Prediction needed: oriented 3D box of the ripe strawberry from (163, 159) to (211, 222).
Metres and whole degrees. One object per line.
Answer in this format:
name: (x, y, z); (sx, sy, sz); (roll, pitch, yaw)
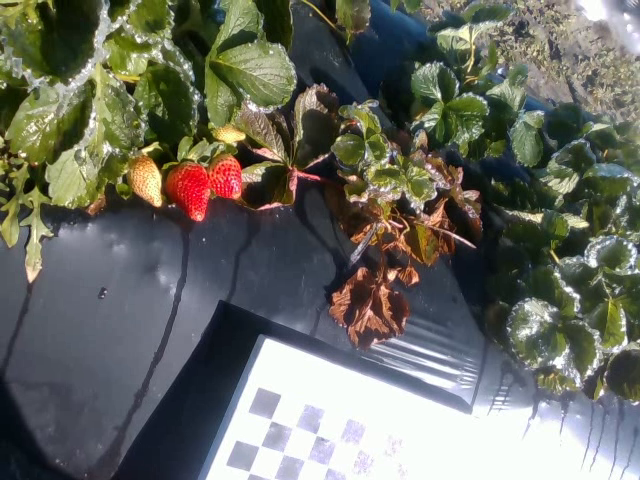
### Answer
ripe strawberry: (-0.100, -0.033, 0.486); (0.036, 0.051, 0.040); (-16, -26, -22)

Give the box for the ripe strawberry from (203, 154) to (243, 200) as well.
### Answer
ripe strawberry: (-0.077, -0.051, 0.514); (0.036, 0.041, 0.030); (-41, 14, -14)
